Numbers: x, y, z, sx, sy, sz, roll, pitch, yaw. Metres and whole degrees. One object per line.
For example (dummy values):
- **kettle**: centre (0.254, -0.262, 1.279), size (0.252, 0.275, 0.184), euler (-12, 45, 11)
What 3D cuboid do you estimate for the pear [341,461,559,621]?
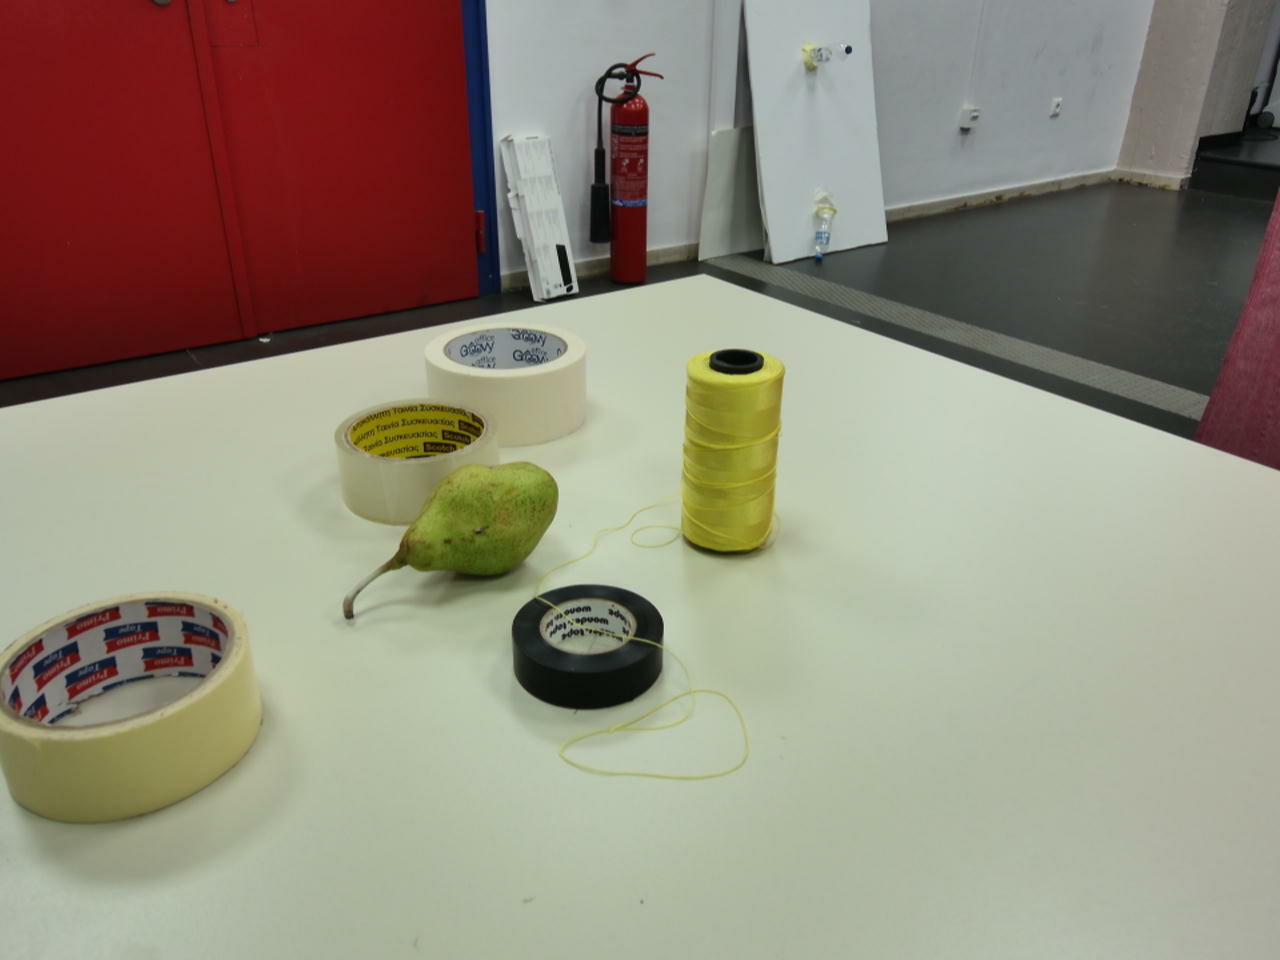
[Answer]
- **pear**: centre (-0.094, 0.022, 0.487), size (0.111, 0.056, 0.056), euler (-10, 27, -20)
